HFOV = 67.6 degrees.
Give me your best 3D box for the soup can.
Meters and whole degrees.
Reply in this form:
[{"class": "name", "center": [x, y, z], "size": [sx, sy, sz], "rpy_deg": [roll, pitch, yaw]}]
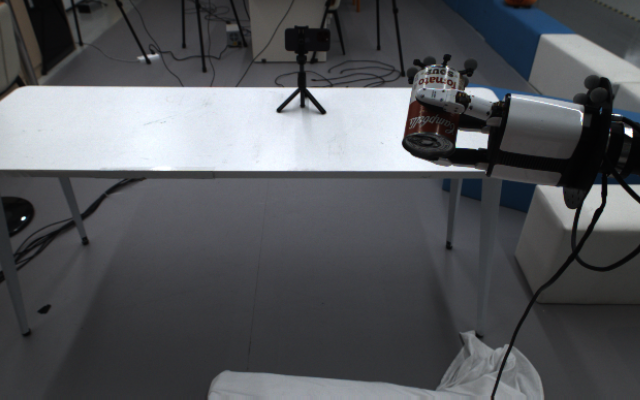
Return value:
[{"class": "soup can", "center": [0.149, -0.117, 0.633], "size": [0.067, 0.067, 0.101], "rpy_deg": [9, 72, 10]}]
